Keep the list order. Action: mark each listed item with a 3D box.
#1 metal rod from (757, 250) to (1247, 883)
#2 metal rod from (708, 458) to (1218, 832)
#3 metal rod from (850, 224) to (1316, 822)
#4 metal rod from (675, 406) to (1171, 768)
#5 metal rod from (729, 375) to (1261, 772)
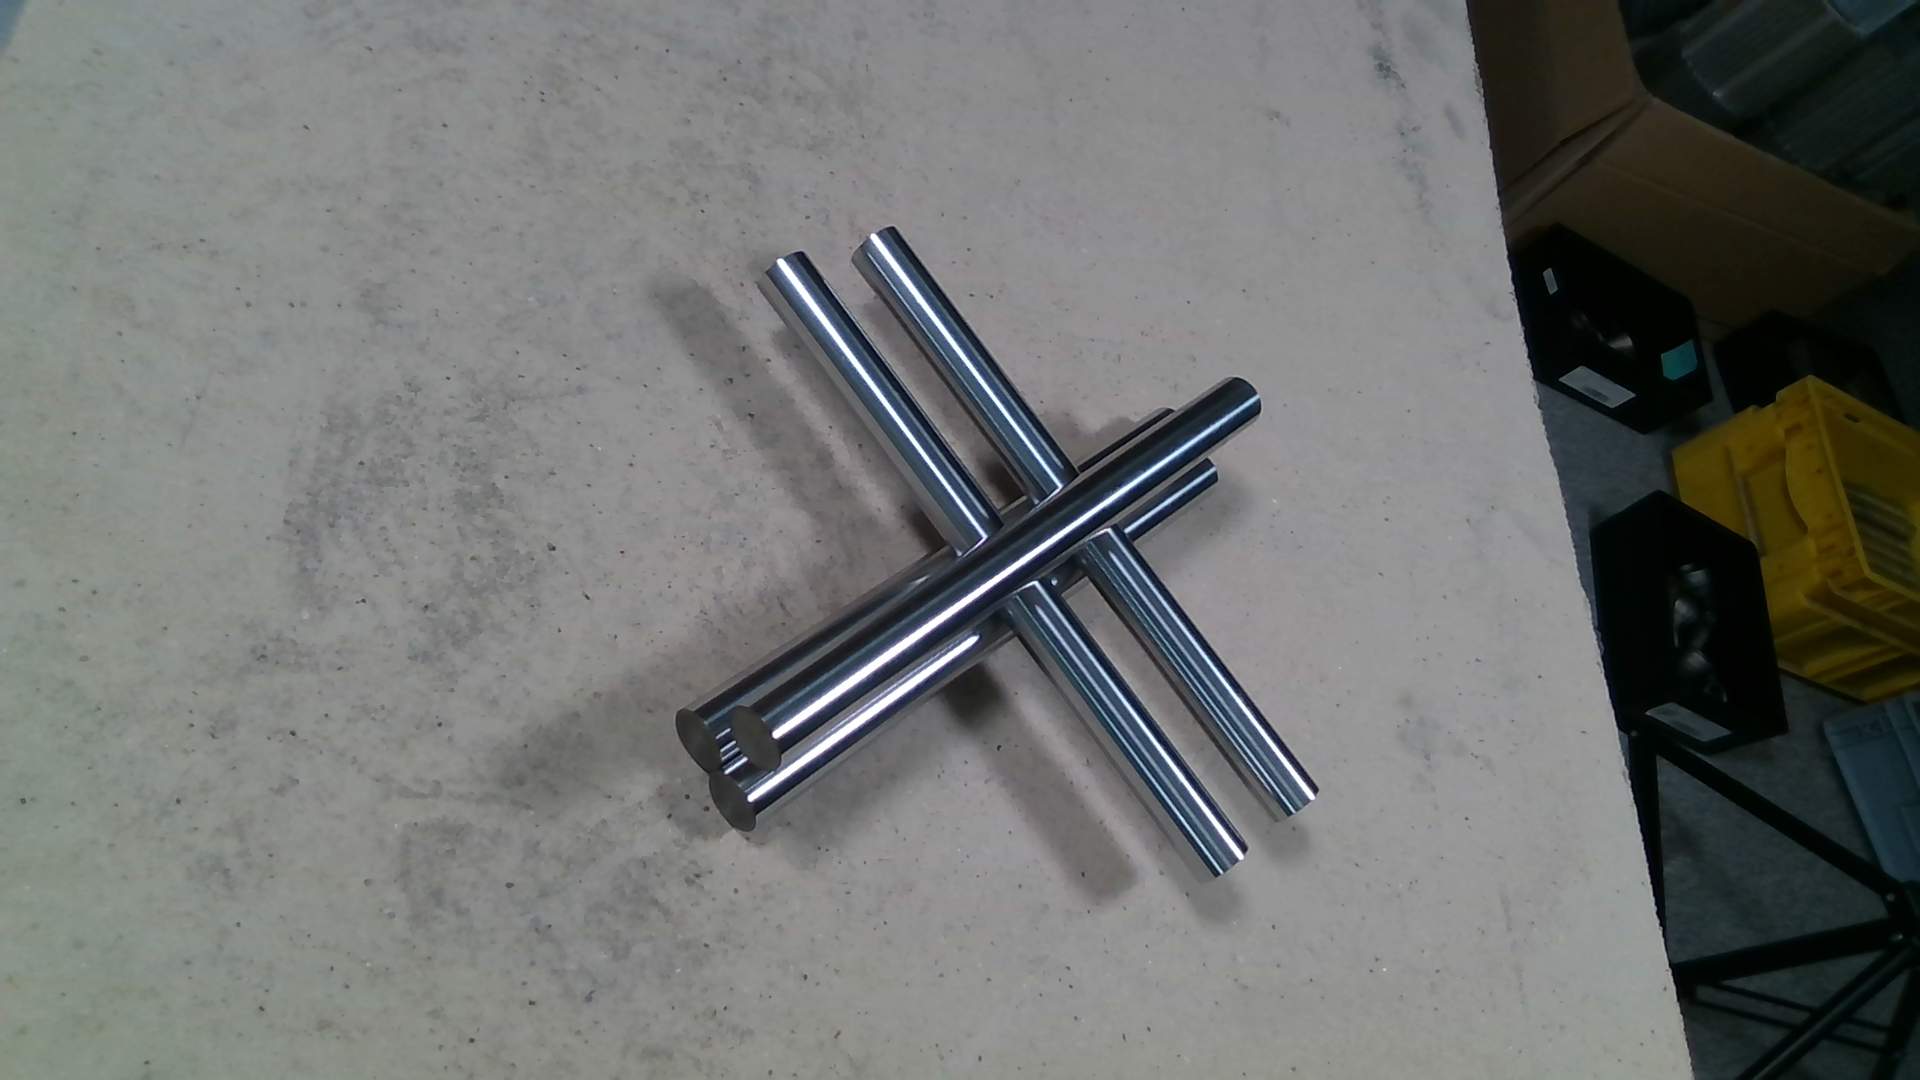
[{"bbox_3d":[0.015,0.009,0.559,0.025,0.025,0.300,-33,85,-39],"label":"metal rod"},{"bbox_3d":[0.018,0.030,0.581,0.300,0.025,0.025,-32,84,-39],"label":"metal rod"},{"bbox_3d":[0.051,-0.009,0.590,0.025,0.025,0.300,-33,85,-39],"label":"metal rod"},{"bbox_3d":[0.005,0.008,0.585,0.300,0.025,0.025,-32,84,-39],"label":"metal rod"},{"bbox_3d":[0.031,0.000,0.540,0.300,0.025,0.025,-34,85,-39],"label":"metal rod"}]
